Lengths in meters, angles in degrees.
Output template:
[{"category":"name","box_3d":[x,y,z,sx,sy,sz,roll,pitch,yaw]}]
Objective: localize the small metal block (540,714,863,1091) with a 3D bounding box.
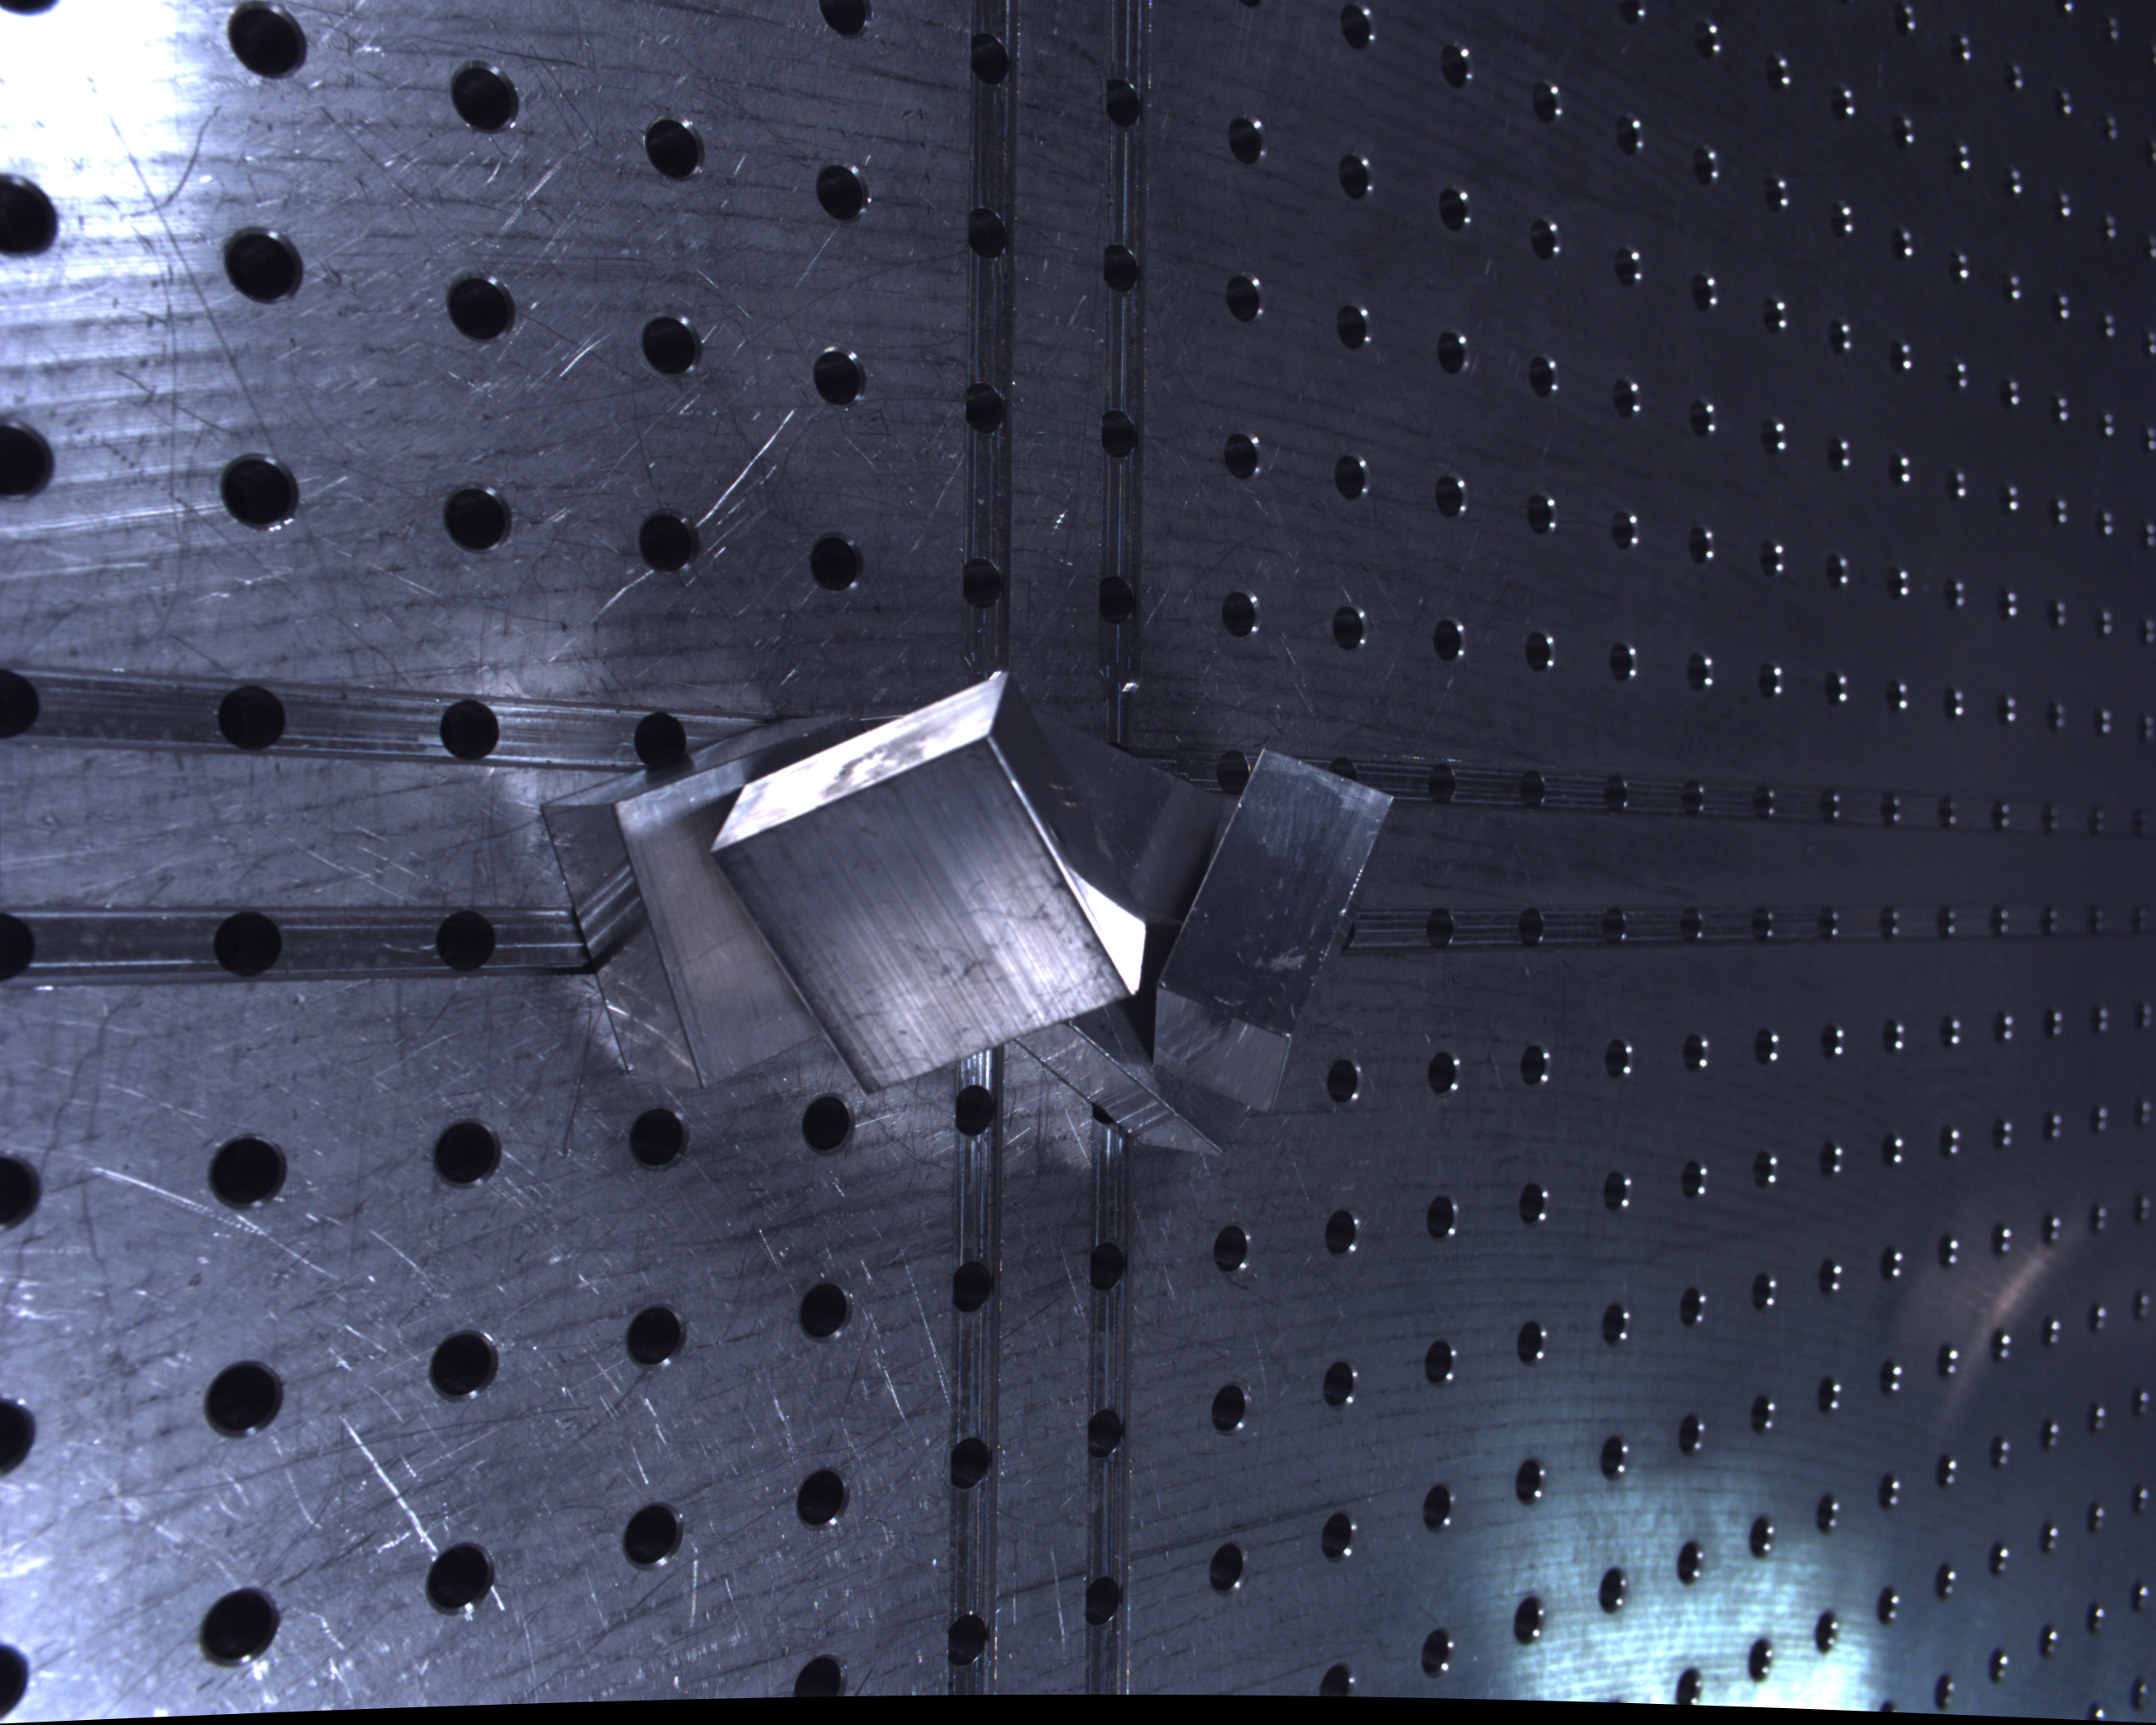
[{"category":"small metal block","box_3d":[-0.058,0.006,0.362,0.050,0.025,0.050,-25,106,-37]}]

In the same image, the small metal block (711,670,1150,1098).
[{"category":"small metal block","box_3d":[-0.023,0.004,0.339,0.050,0.050,0.025,61,17,-23]}]

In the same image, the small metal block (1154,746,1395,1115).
[{"category":"small metal block","box_3d":[0.036,0.014,0.390,0.050,0.025,0.050,88,25,-68]}]

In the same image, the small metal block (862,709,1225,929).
[{"category":"small metal block","box_3d":[-0.010,-0.008,0.386,0.050,0.050,0.025,24,75,-38]}]

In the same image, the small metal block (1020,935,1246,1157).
[{"category":"small metal block","box_3d":[0.017,0.025,0.426,0.050,0.025,0.050,43,64,-32]}]
